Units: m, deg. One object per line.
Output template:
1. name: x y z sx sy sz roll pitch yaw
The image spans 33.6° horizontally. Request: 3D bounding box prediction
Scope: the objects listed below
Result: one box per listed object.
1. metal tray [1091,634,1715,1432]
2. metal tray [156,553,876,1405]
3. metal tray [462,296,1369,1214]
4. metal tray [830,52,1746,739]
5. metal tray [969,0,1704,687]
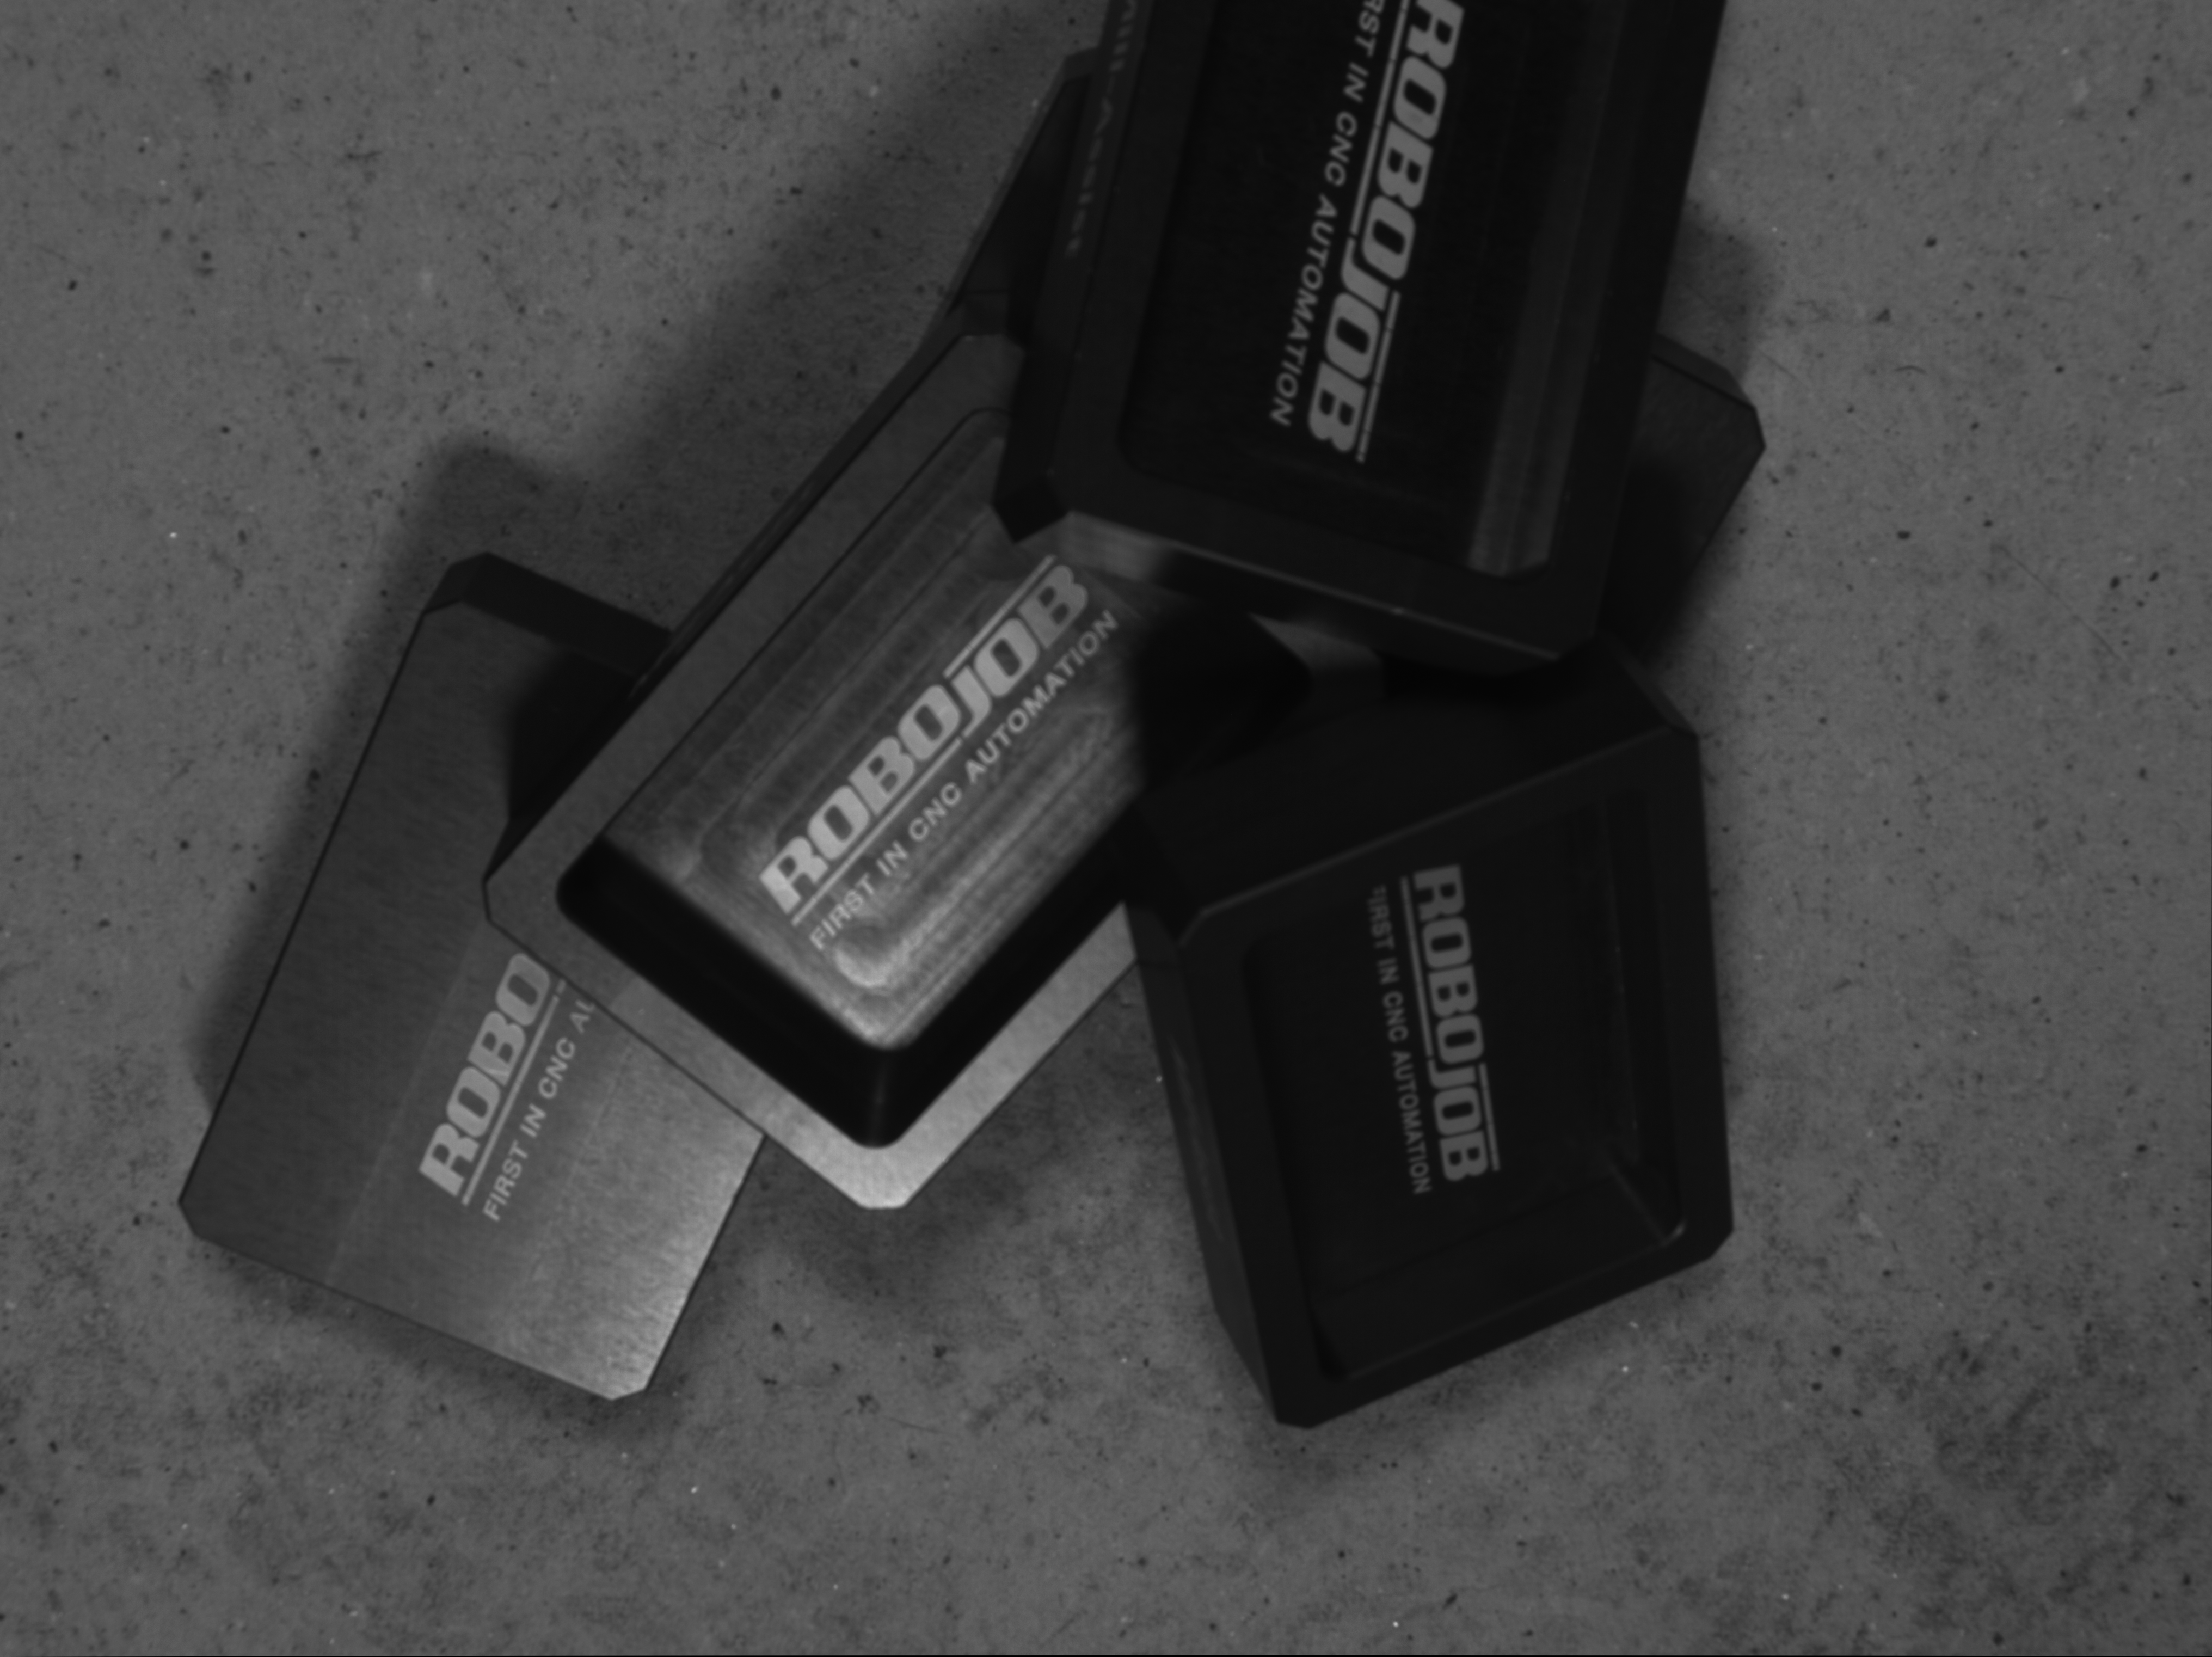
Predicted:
1. metal tray: 0.053 0.037 0.618 0.090 0.030 0.130 -22 134 -10
2. metal tray: -0.102 0.028 0.649 0.090 0.030 0.130 23 108 -9
3. metal tray: -0.031 -0.011 0.604 0.090 0.030 0.130 40 105 -14
4. metal tray: 0.029 -0.062 0.618 0.130 0.030 0.090 26 108 -10
5. metal tray: 0.038 -0.096 0.570 0.090 0.030 0.130 15 82 -17
